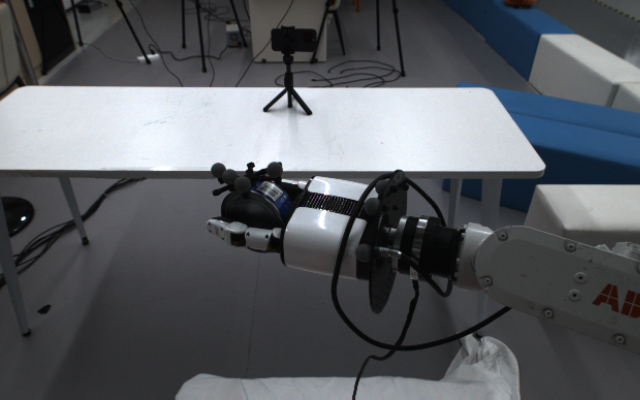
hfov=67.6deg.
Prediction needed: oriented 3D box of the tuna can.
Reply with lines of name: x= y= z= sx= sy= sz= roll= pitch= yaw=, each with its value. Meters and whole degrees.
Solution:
tuna can: x=-0.069 y=0.017 z=0.571 sx=0.085 sy=0.085 sz=0.034 roll=17 pitch=36 yaw=20
